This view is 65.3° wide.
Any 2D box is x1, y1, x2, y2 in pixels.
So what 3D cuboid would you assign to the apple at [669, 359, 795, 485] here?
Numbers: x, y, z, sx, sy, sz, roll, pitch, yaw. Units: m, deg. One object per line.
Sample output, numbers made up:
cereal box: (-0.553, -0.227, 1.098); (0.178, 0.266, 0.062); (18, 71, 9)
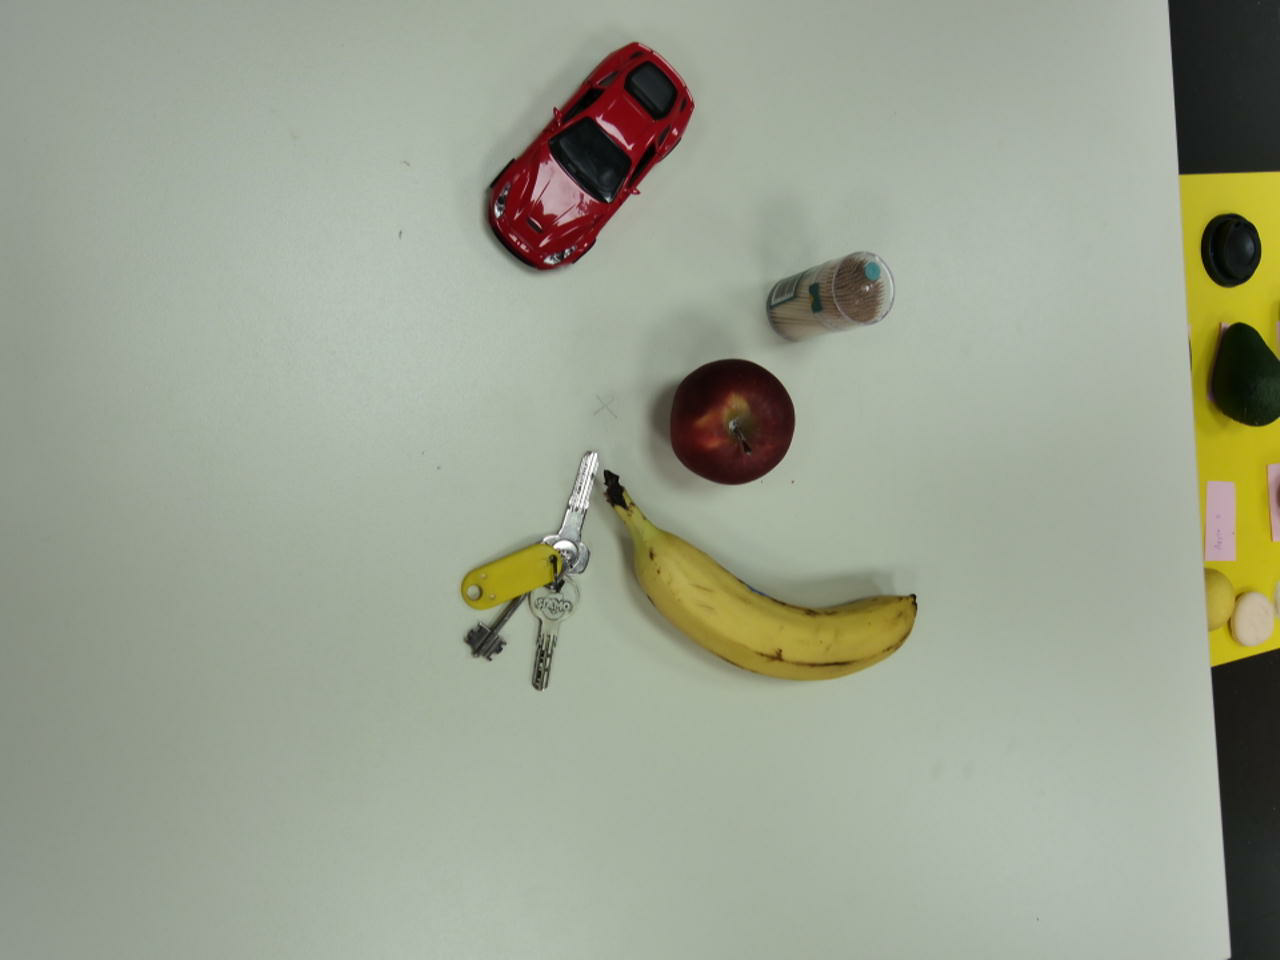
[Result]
apple: (0.051, -0.031, 0.553); (0.070, 0.072, 0.070); (0, 91, -22)
